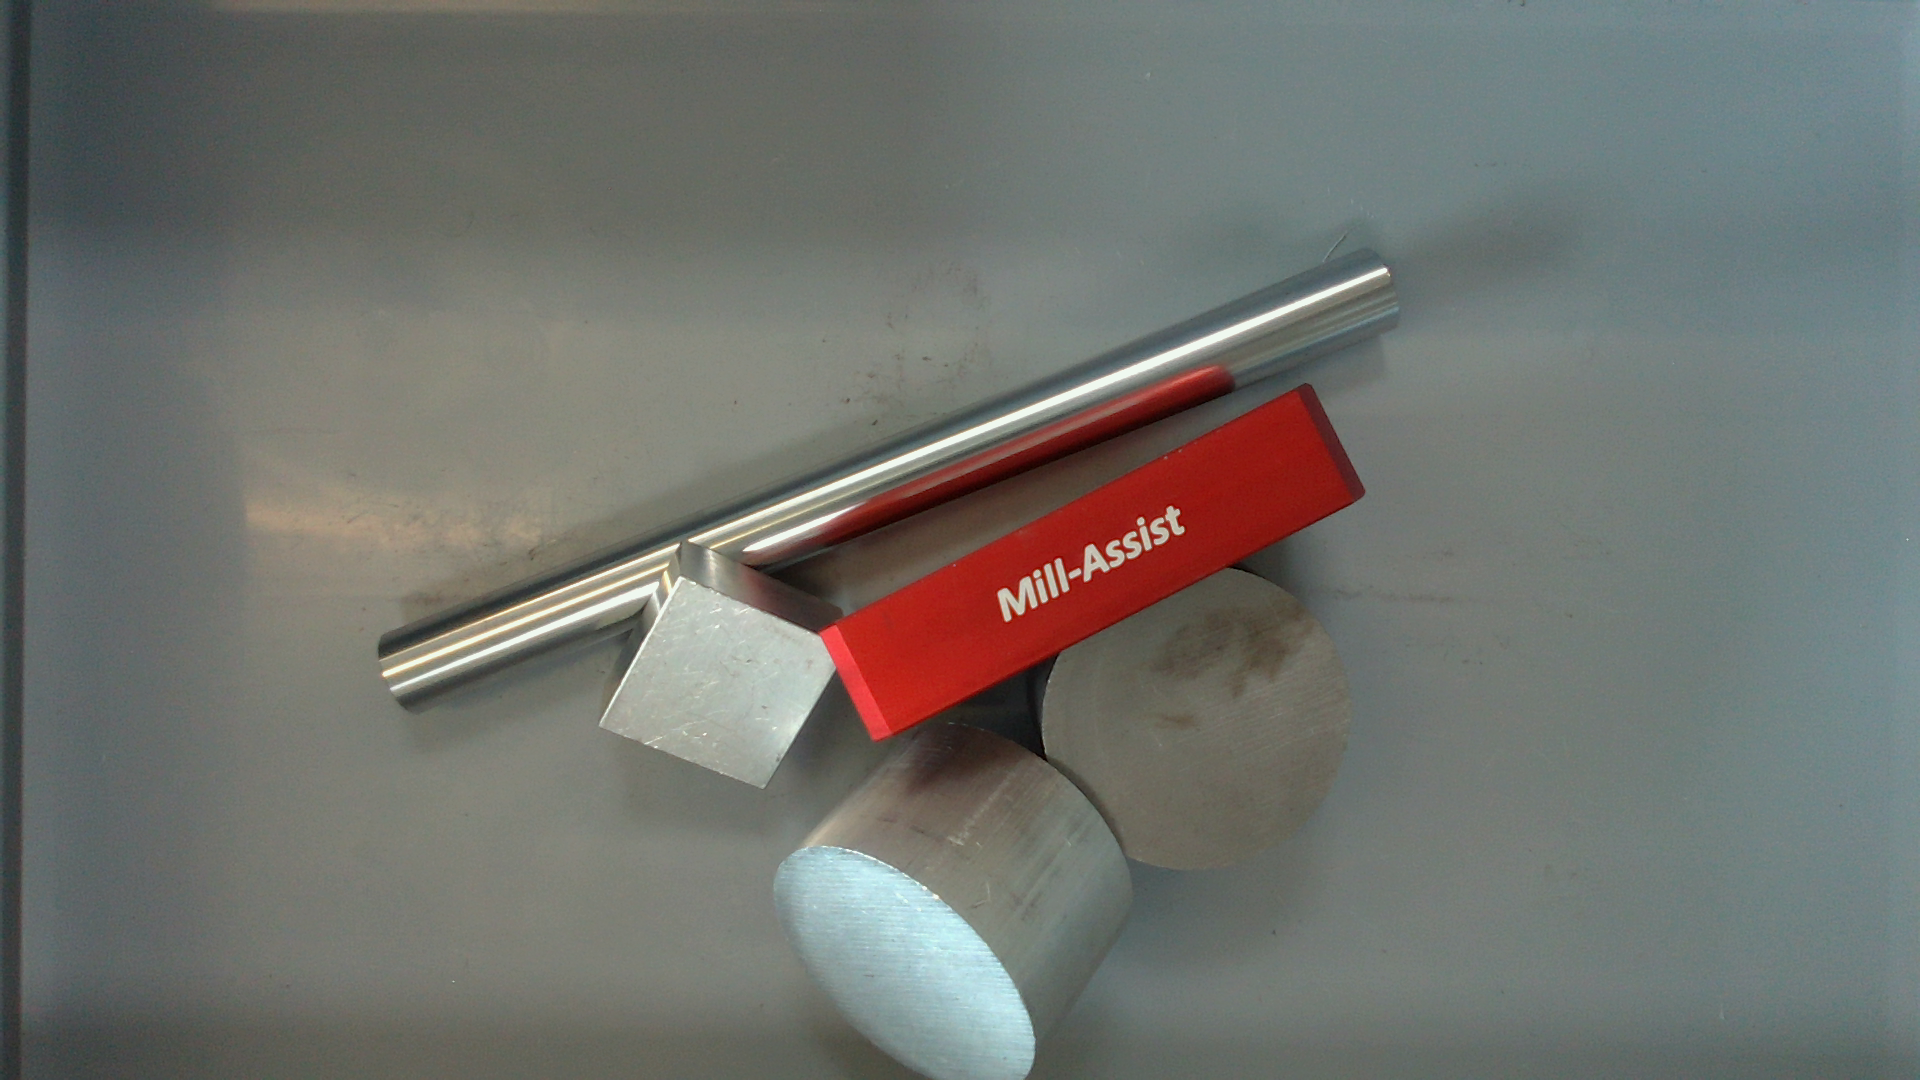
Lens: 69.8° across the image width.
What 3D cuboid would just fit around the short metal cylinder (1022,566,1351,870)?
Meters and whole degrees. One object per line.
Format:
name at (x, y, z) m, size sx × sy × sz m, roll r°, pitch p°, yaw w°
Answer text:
short metal cylinder at (0.060, 0.043, 0.377) m, size 0.080 × 0.050 × 0.080 m, roll -1°, pitch 99°, yaw -4°

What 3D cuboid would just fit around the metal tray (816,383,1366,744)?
metal tray at (0.031, 0.005, 0.362) m, size 0.130 × 0.090 × 0.030 m, roll -27°, pitch 90°, yaw 0°

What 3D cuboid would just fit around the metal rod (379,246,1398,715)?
metal rod at (-0.020, -0.017, 0.394) m, size 0.300 × 0.025 × 0.025 m, roll -22°, pitch 90°, yaw 0°

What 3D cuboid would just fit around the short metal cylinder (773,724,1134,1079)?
short metal cylinder at (-0.002, 0.096, 0.360) m, size 0.080 × 0.080 × 0.050 m, roll 47°, pitch 49°, yaw 0°

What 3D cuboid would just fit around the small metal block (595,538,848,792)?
small metal block at (-0.066, 0.035, 0.381) m, size 0.050 × 0.025 × 0.050 m, roll 26°, pitch 106°, yaw -19°
